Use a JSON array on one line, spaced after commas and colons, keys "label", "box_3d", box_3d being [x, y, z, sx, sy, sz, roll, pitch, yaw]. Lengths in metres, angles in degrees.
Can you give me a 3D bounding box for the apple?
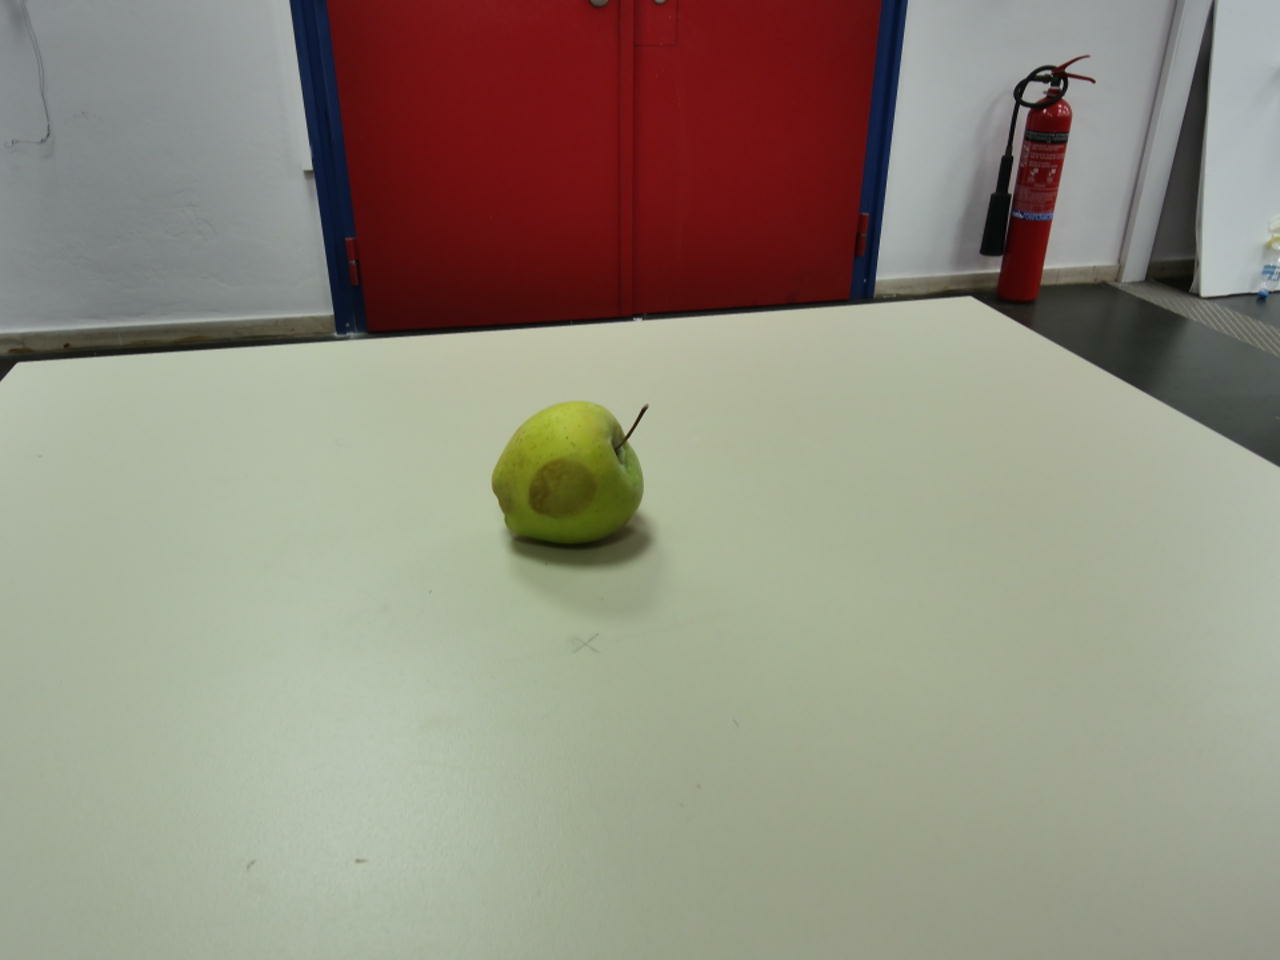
[{"label": "apple", "box_3d": [-0.037, -0.005, 0.529, 0.077, 0.075, 0.072, 16, 29, 28]}]
